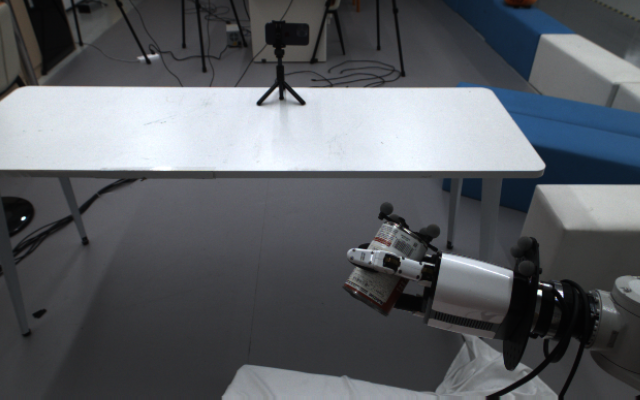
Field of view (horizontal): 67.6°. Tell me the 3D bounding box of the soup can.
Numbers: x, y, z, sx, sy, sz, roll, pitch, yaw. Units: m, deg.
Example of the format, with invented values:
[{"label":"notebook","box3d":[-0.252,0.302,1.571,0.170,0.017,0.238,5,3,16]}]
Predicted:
[{"label":"soup can","box3d":[0.084,0.085,0.615,0.067,0.067,0.101,28,78,32]}]
